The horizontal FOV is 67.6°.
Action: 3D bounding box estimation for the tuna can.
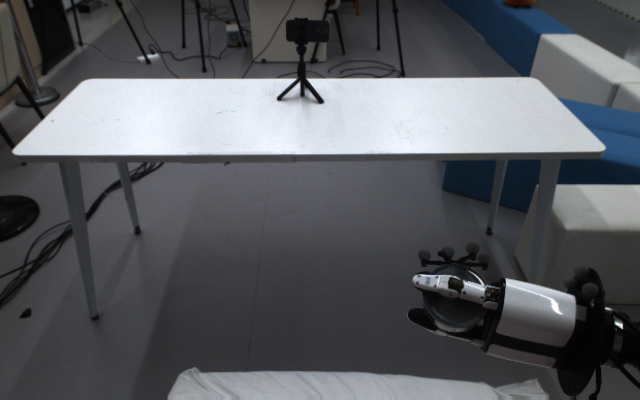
[{"bbox_3d":[0.181,0.127,0.639,0.085,0.034,0.085,-4,60,8],"label":"tuna can"}]
